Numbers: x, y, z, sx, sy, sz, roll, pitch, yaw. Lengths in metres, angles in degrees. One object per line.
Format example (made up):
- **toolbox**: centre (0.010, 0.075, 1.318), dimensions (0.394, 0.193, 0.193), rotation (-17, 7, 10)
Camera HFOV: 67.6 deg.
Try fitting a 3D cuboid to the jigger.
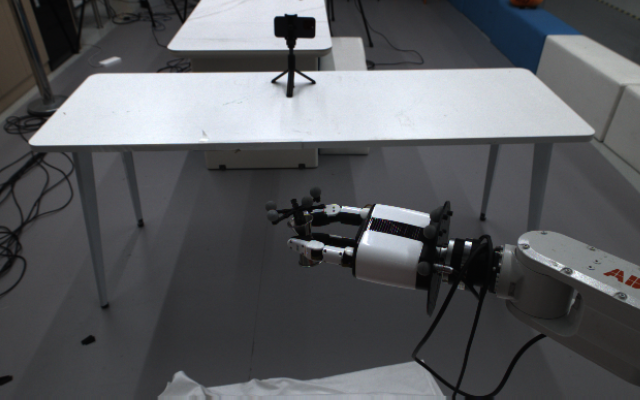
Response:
- **jigger**: centre (-0.019, 0.059, 0.720), dimensions (0.043, 0.071, 0.043), rotation (-14, 21, 6)
